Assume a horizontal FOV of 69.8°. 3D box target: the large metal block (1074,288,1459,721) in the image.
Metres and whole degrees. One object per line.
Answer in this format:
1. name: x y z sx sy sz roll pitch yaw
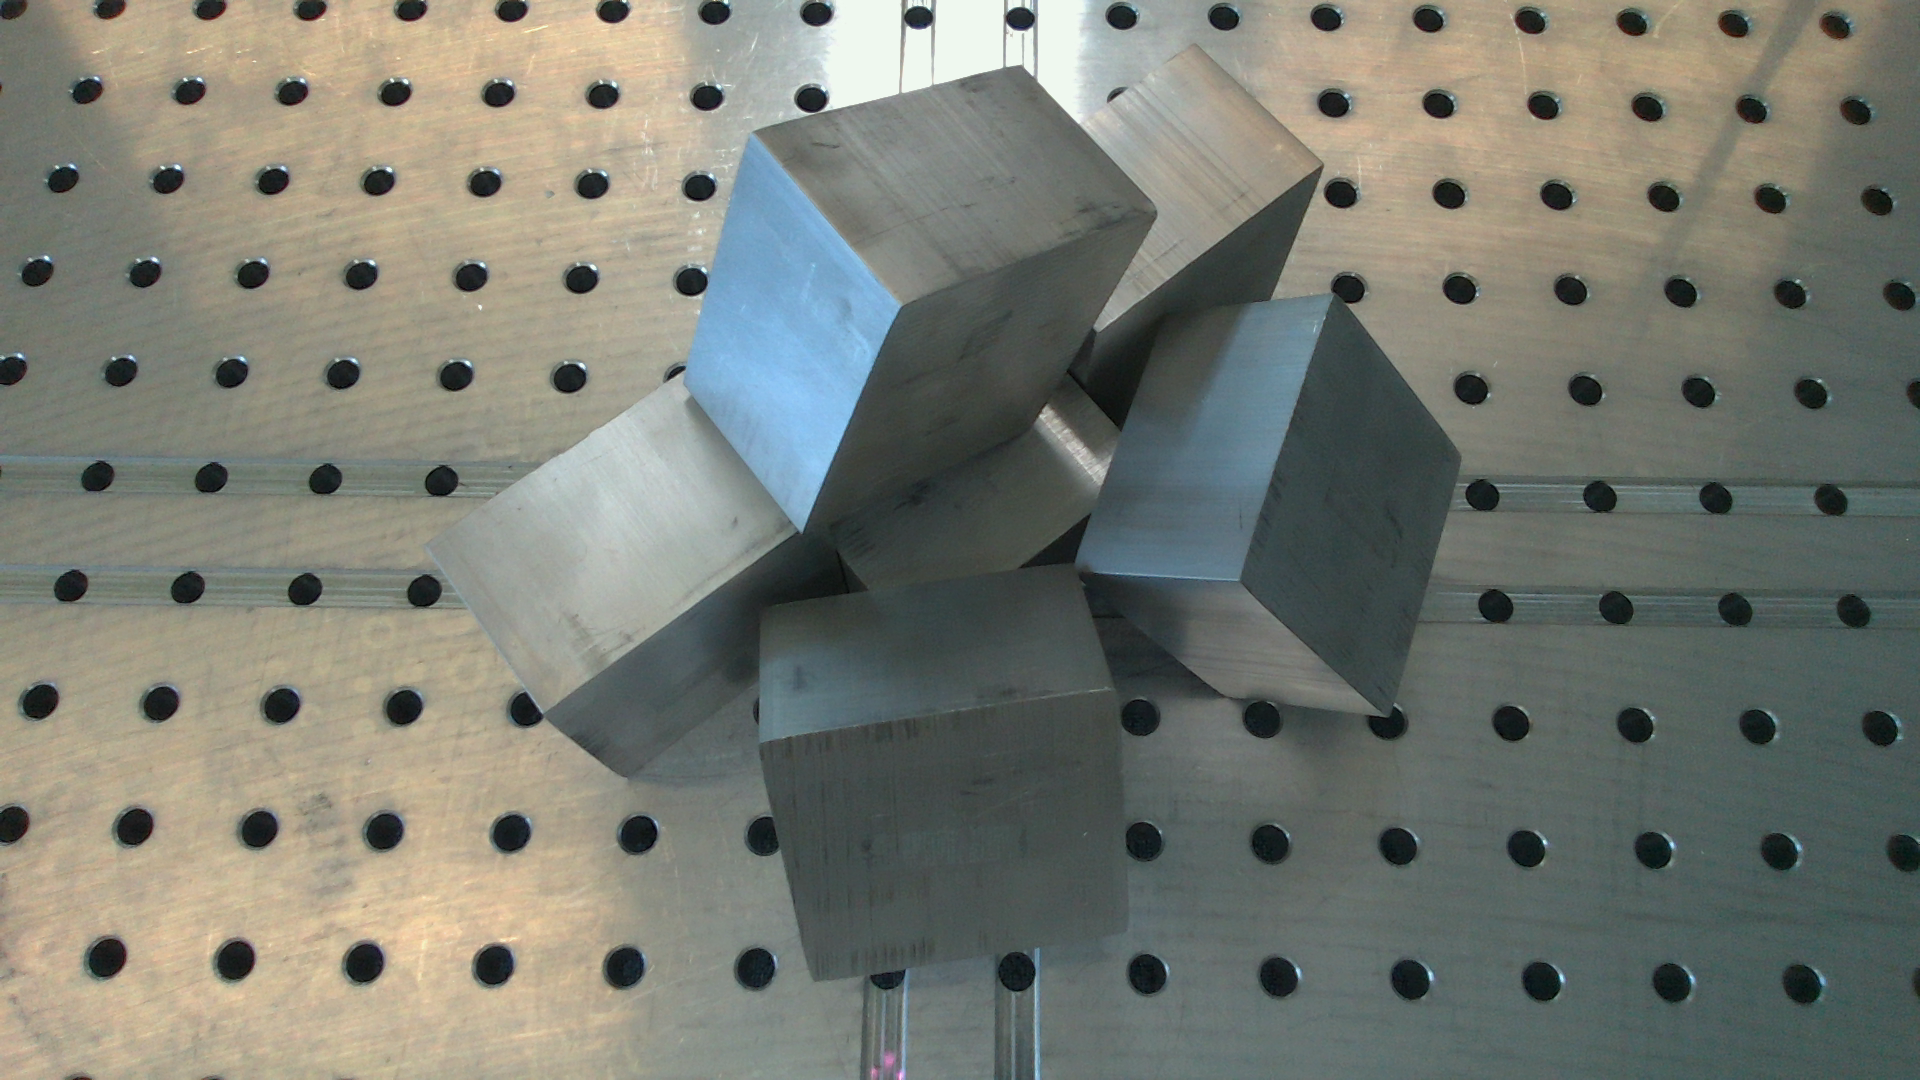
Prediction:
1. large metal block: 0.083 -0.007 0.363 0.050 0.080 0.080 2 63 45

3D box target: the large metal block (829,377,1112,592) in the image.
1. large metal block: -0.005 -0.016 0.391 0.080 0.050 0.080 -37 74 -13

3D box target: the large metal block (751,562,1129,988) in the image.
1. large metal block: -0.004 0.058 0.339 0.080 0.080 0.050 -8 34 -3

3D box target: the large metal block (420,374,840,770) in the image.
1. large metal block: -0.080 0.009 0.363 0.080 0.080 0.050 -37 74 -12

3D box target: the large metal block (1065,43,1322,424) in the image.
1. large metal block: 0.048 -0.080 0.397 0.080 0.080 0.050 -38 75 -13

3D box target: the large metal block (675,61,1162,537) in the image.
1. large metal block: -0.012 -0.056 0.321 0.080 0.080 0.050 -27 70 -36
